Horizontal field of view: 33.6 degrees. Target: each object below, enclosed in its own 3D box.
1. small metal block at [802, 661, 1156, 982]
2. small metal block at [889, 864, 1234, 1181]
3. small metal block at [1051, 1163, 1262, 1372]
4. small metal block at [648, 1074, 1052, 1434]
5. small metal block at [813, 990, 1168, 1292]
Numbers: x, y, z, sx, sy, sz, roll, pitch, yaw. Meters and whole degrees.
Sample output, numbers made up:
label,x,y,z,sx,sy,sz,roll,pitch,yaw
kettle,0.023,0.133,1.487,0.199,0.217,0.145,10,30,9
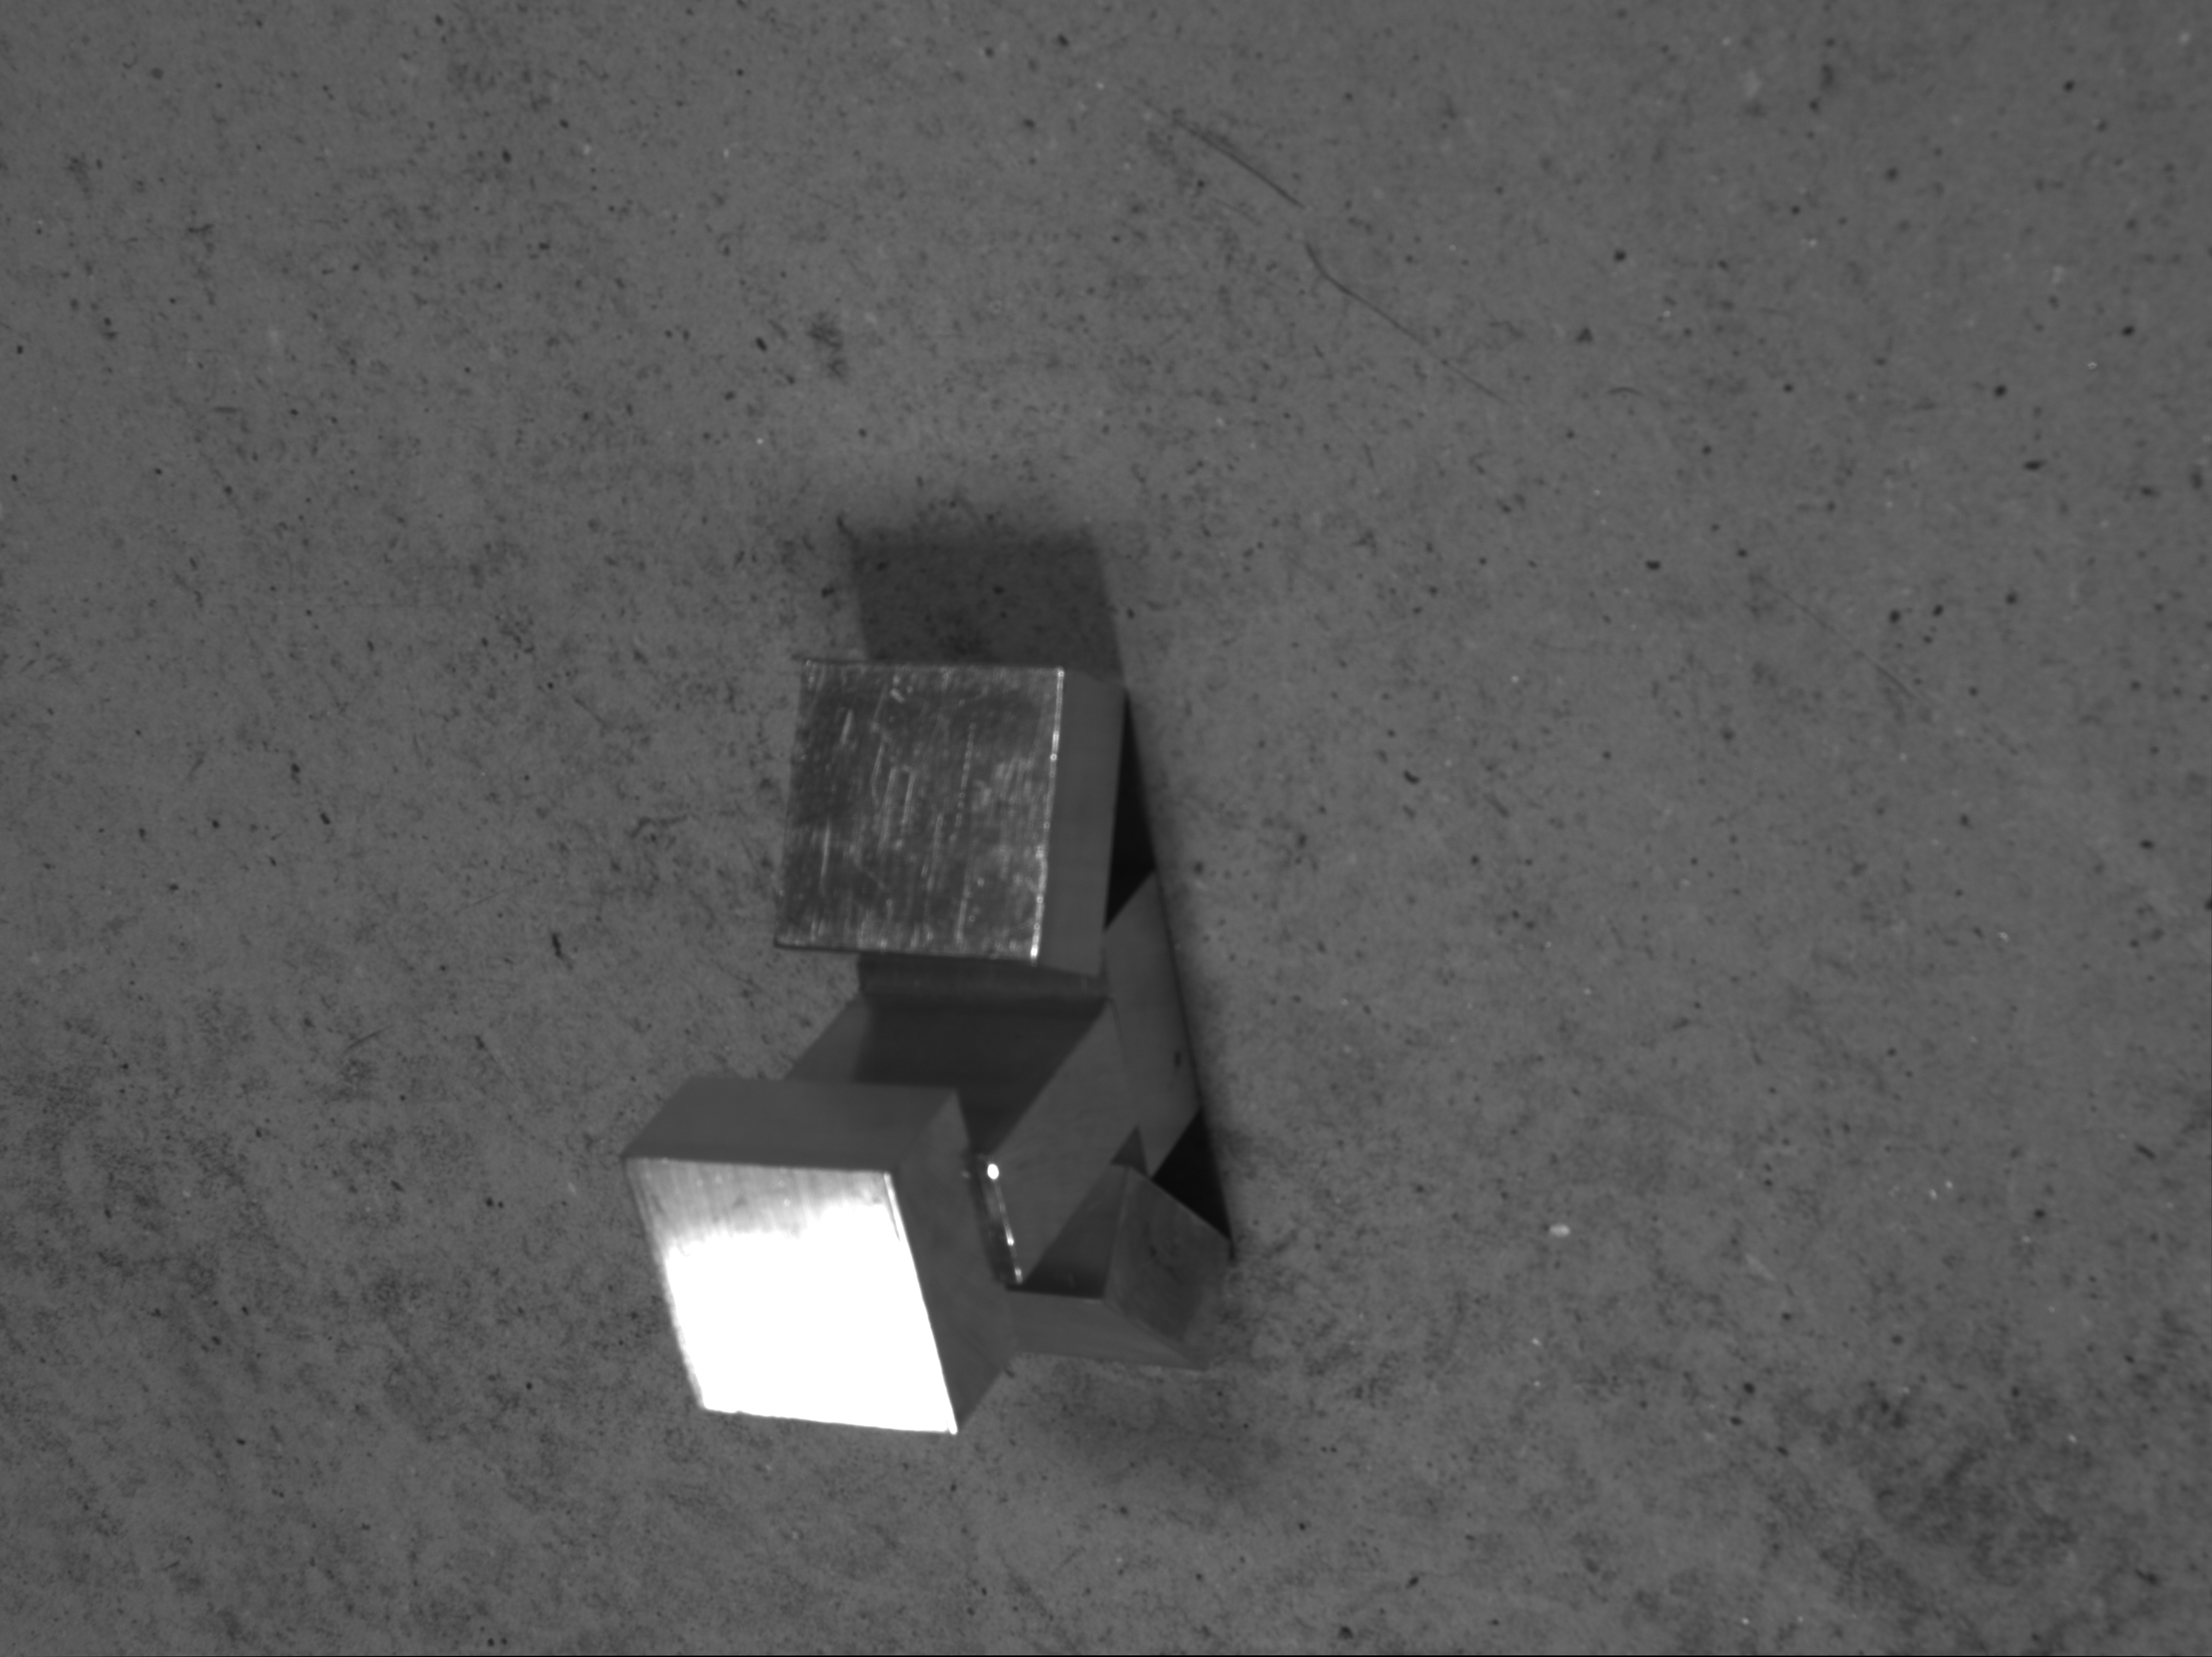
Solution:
label,x,y,z,sx,sy,sz,roll,pitch,yaw
small metal block,-0.022,-0.001,0.626,0.050,0.025,0.050,3,83,26
small metal block,-0.009,0.034,0.657,0.050,0.025,0.050,2,119,26
small metal block,-0.006,0.078,0.665,0.050,0.025,0.050,2,160,26
small metal block,-0.041,0.069,0.598,0.050,0.025,0.050,1,119,26
small metal block,-0.024,0.053,0.626,0.050,0.050,0.025,2,119,26
